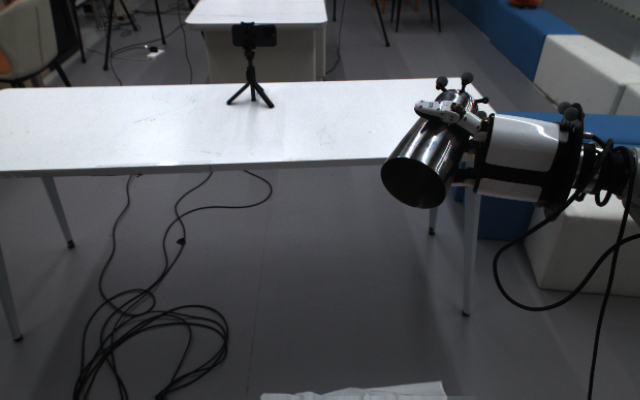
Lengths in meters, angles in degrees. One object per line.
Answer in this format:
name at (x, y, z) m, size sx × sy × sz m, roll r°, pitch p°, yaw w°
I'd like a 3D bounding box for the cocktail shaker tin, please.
cocktail shaker tin at (0.165, -0.085, 0.674) m, size 0.093 × 0.093 × 0.170 m, roll 19°, pitch 55°, yaw 22°
